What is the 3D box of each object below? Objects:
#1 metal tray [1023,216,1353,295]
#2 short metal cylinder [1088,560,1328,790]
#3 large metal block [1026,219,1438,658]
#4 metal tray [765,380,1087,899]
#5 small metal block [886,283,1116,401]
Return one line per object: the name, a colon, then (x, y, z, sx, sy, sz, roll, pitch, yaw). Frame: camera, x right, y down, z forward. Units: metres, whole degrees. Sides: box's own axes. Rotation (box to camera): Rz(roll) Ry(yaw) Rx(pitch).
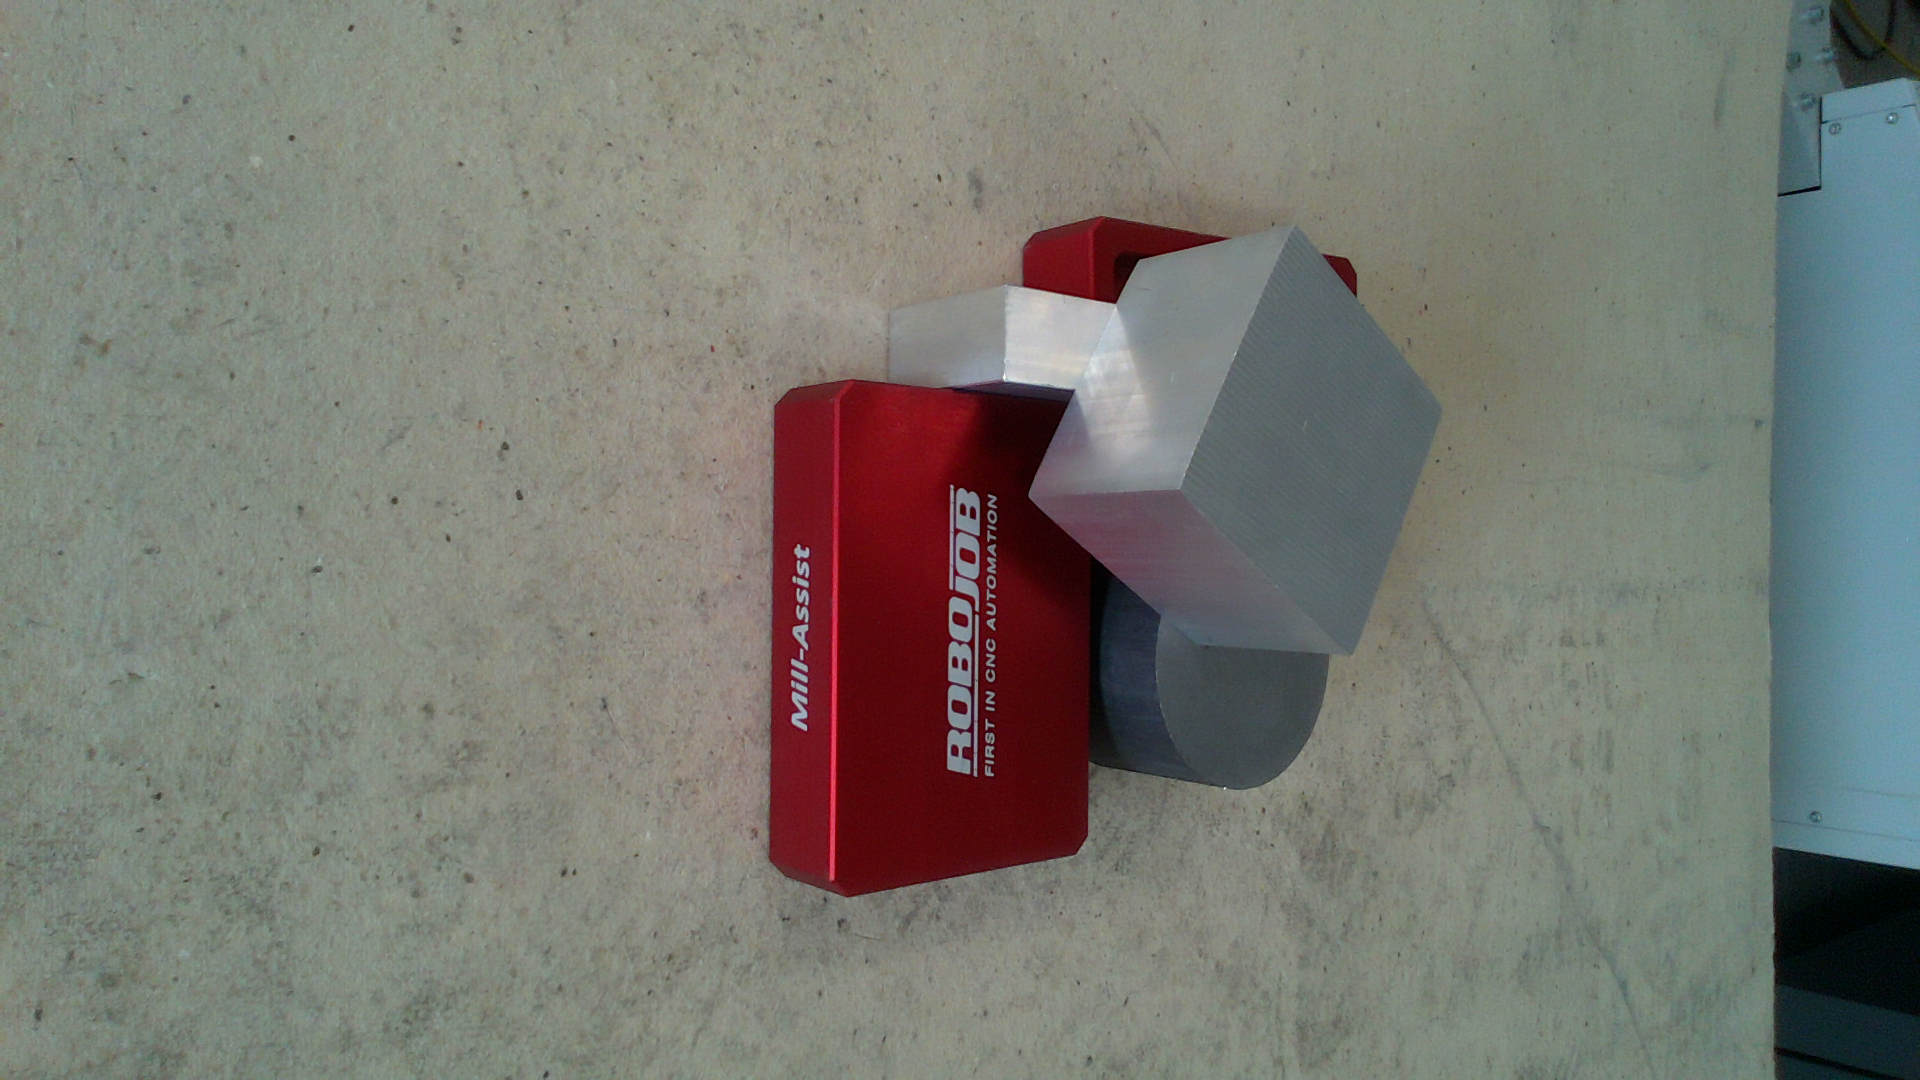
metal tray: (0.079, -0.051, 0.451, 0.131, 0.030, 0.090, -2, 91, -40)
short metal cylinder: (0.070, 0.035, 0.431, 0.080, 0.050, 0.080, 0, 90, -39)
large metal block: (0.075, -0.025, 0.369, 0.080, 0.050, 0.080, 40, 66, -33)
metal tray: (-0.007, 0.025, 0.381, 0.090, 0.030, 0.130, 1, 90, -40)
small metal block: (0.014, -0.053, 0.385, 0.050, 0.050, 0.025, 1, 89, -40)
